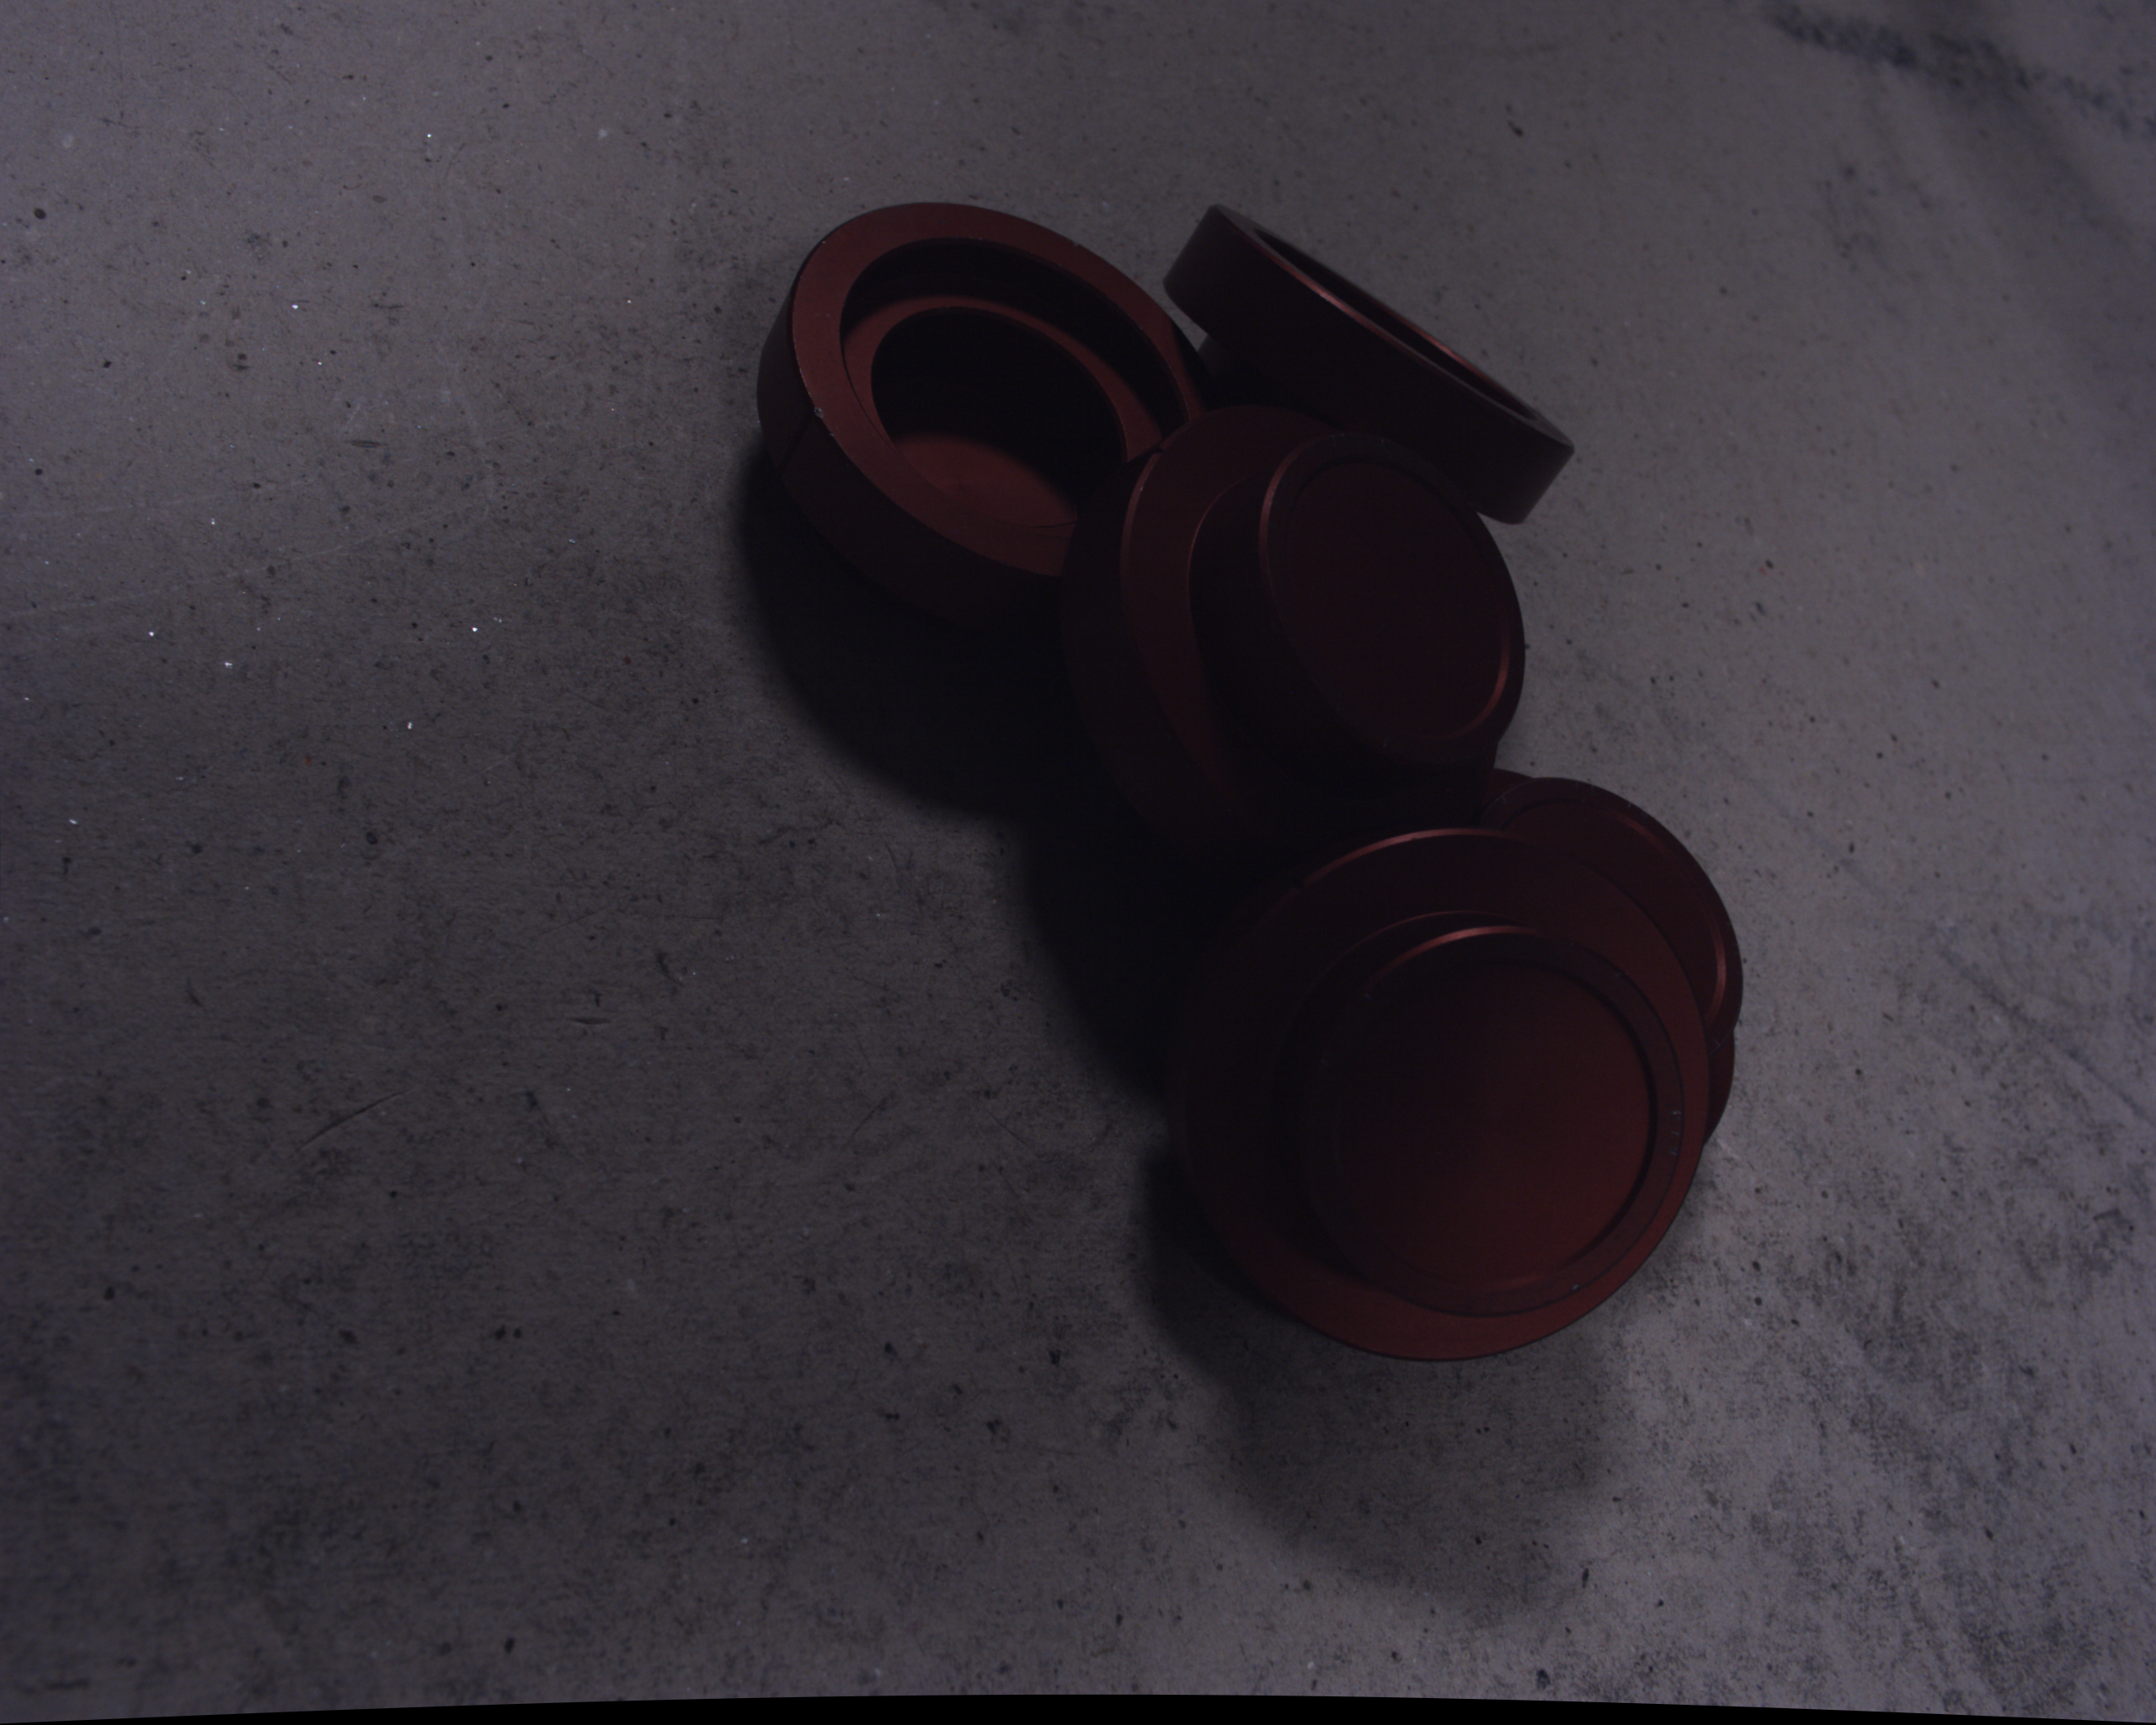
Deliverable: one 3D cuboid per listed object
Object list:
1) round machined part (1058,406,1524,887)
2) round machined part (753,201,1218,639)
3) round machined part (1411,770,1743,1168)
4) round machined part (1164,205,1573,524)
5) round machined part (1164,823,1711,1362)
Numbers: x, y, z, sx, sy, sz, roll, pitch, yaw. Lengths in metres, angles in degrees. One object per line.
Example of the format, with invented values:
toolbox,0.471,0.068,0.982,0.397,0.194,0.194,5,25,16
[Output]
round machined part,0.048,-0.045,0.407,0.099,0.042,0.098,14,64,-32
round machined part,-0.021,-0.087,0.438,0.099,0.042,0.098,14,56,-21
round machined part,0.098,0.021,0.436,0.099,0.042,0.098,14,56,-21
round machined part,0.060,-0.105,0.475,0.098,0.042,0.098,29,21,-12
round machined part,0.068,0.043,0.374,0.099,0.042,0.097,-1,95,-9
